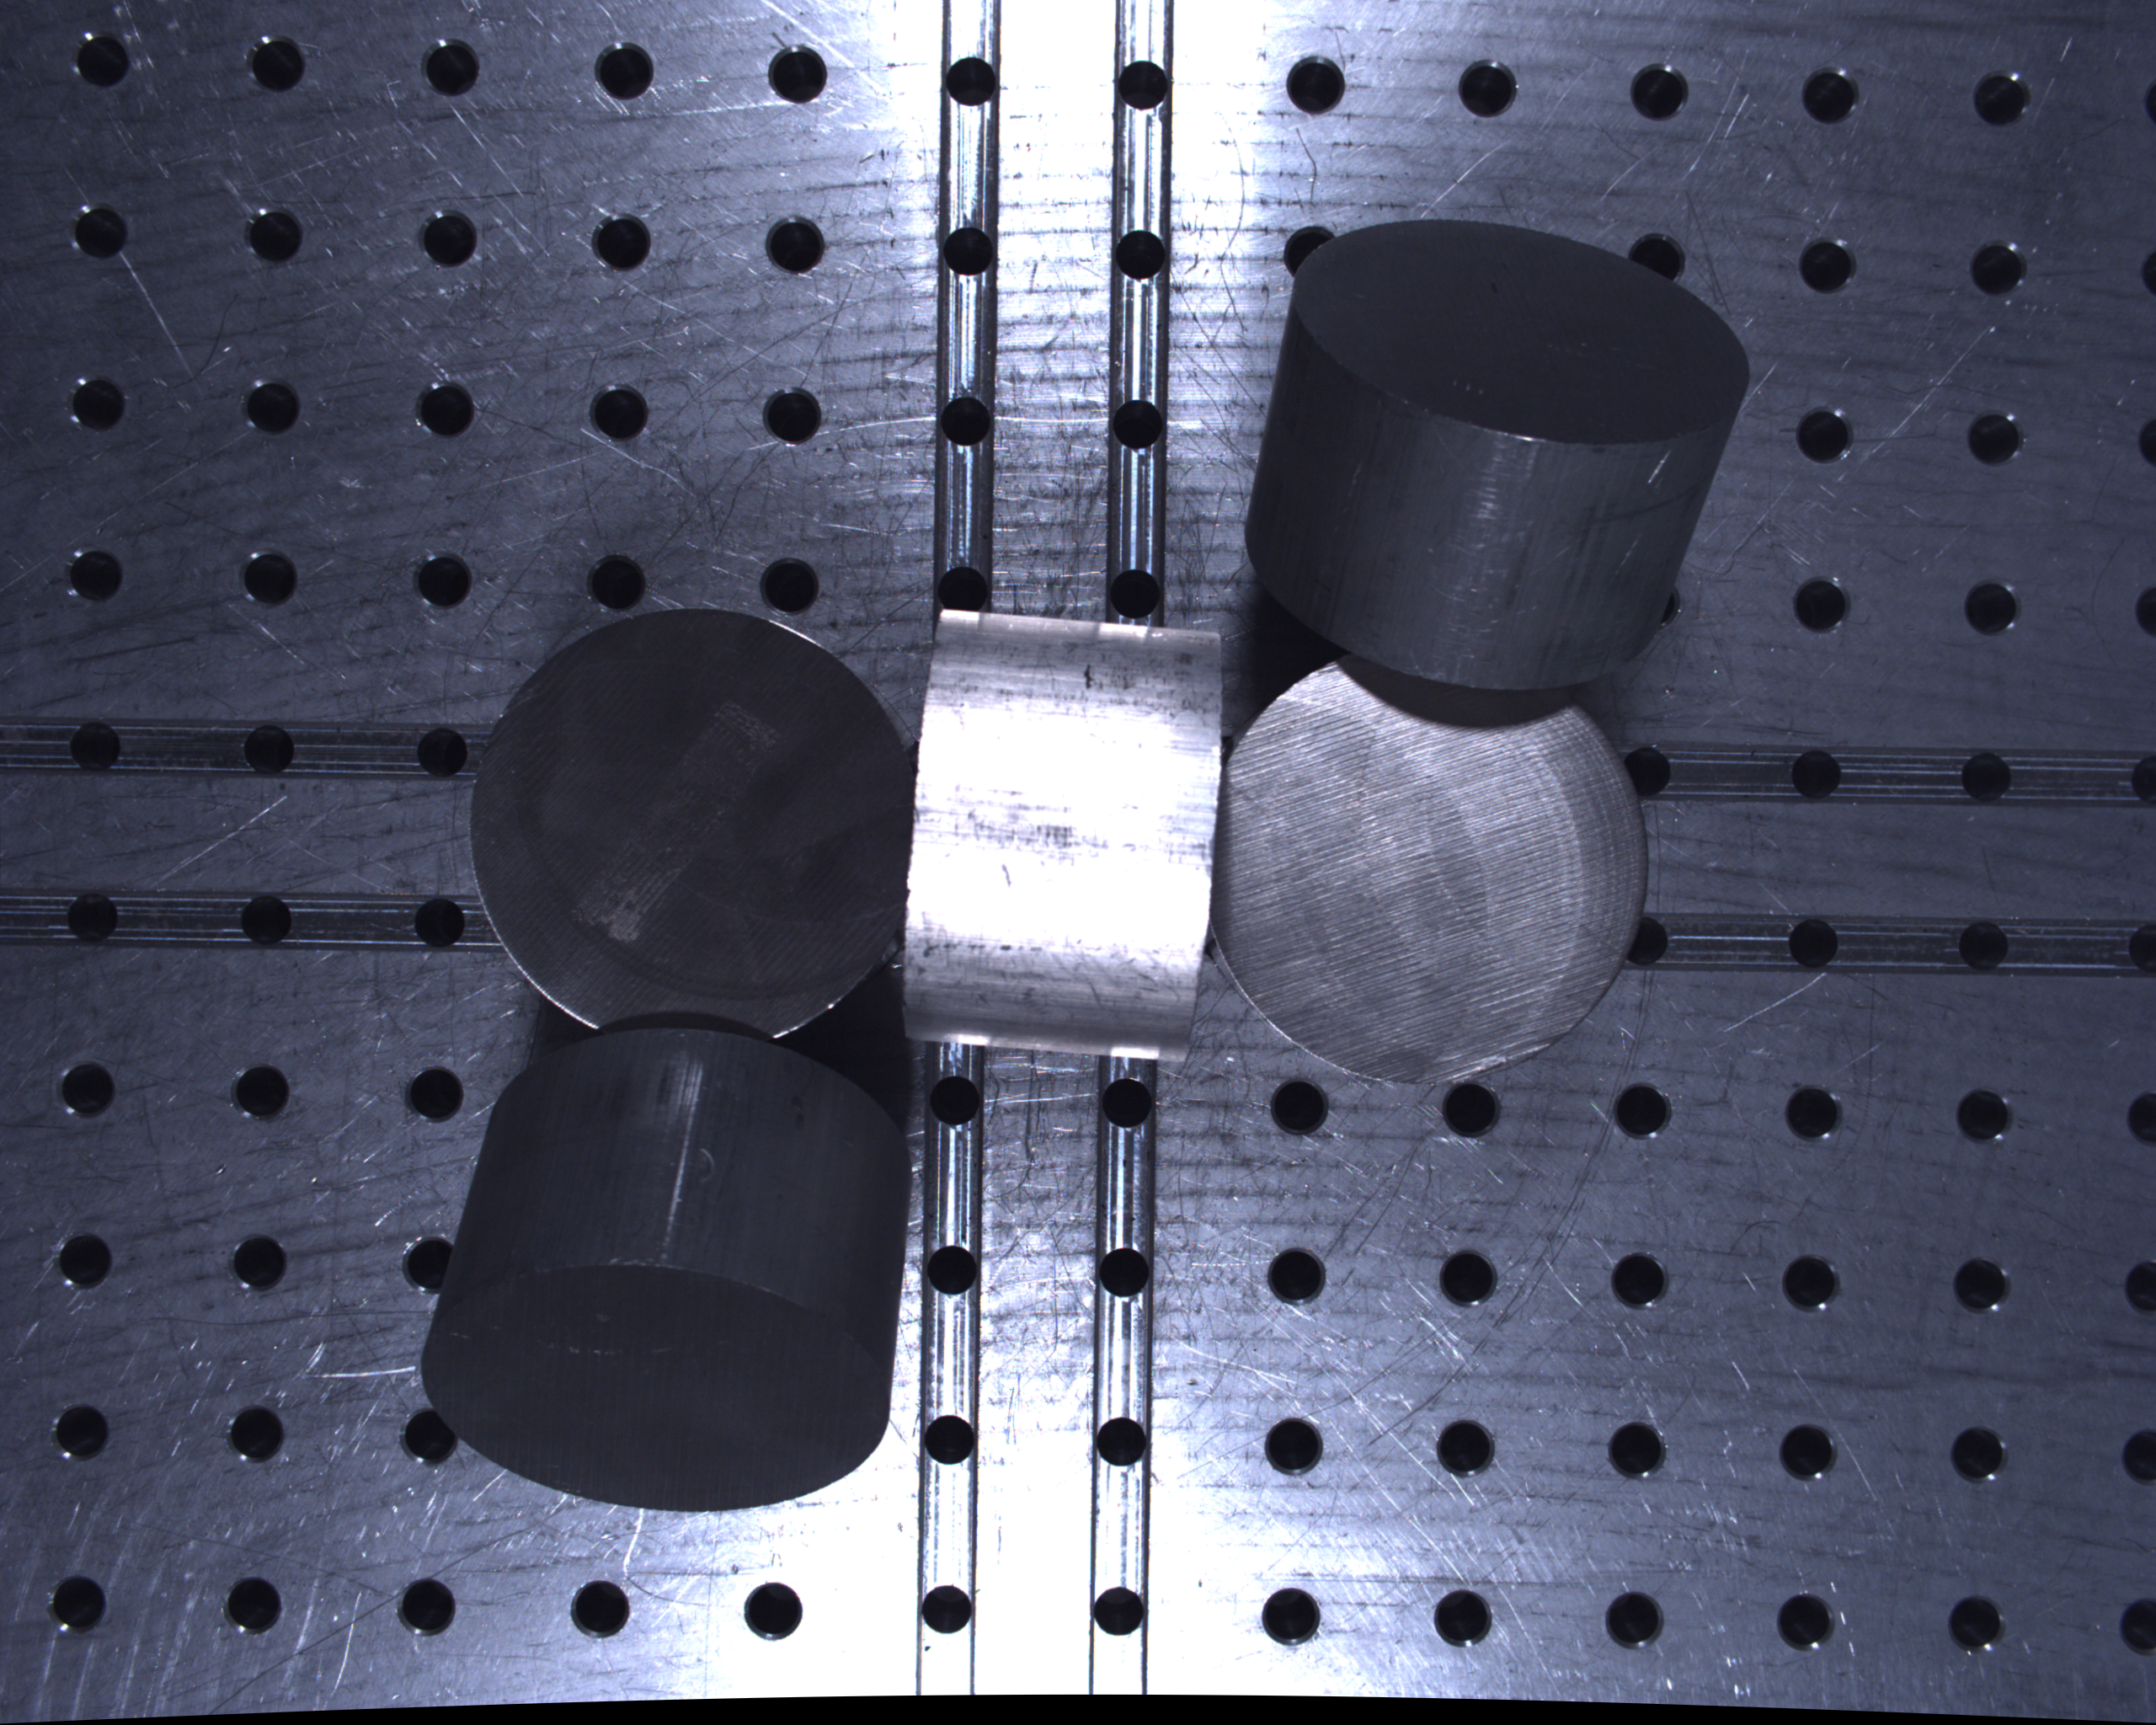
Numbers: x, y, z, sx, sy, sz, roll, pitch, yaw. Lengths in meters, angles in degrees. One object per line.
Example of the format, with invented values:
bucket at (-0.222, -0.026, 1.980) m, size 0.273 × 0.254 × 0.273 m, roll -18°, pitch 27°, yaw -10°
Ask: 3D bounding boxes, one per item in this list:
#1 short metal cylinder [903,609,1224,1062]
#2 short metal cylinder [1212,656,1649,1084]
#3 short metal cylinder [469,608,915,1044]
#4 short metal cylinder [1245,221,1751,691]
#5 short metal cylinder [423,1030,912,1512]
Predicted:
short metal cylinder at (-0.003, -0.005, 0.386) m, size 0.050 × 0.080 × 0.079 m, roll 5°, pitch 90°, yaw 0°
short metal cylinder at (0.063, 0.000, 0.401) m, size 0.081 × 0.050 × 0.079 m, roll 0°, pitch 90°, yaw -1°
short metal cylinder at (-0.069, -0.006, 0.399) m, size 0.081 × 0.050 × 0.079 m, roll 0°, pitch 90°, yaw -1°
short metal cylinder at (0.074, -0.075, 0.380) m, size 0.081 × 0.080 × 0.050 m, roll 9°, pitch 132°, yaw -1°
short metal cylinder at (-0.072, 0.075, 0.379) m, size 0.081 × 0.050 × 0.079 m, roll 0°, pitch 134°, yaw 1°
